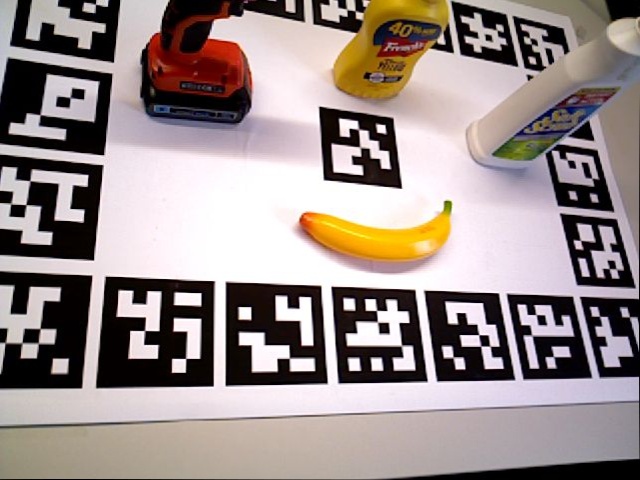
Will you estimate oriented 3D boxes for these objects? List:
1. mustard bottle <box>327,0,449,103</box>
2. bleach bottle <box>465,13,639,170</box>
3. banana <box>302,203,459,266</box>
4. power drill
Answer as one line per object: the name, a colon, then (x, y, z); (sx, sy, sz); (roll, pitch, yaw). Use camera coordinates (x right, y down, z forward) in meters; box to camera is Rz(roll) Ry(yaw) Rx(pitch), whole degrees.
mustard bottle: (0.086, -0.231, 0.605); (0.095, 0.195, 0.058); (-4, 70, -24)
bleach bottle: (0.280, -0.171, 0.617); (0.101, 0.256, 0.067); (12, 65, -17)
banana: (0.076, -0.007, 0.592); (0.195, 0.039, 0.074); (-2, 73, -18)
power drill: (-0.076, -0.210, 0.502); (0.182, 0.191, 0.057); (-3, 70, -18)
